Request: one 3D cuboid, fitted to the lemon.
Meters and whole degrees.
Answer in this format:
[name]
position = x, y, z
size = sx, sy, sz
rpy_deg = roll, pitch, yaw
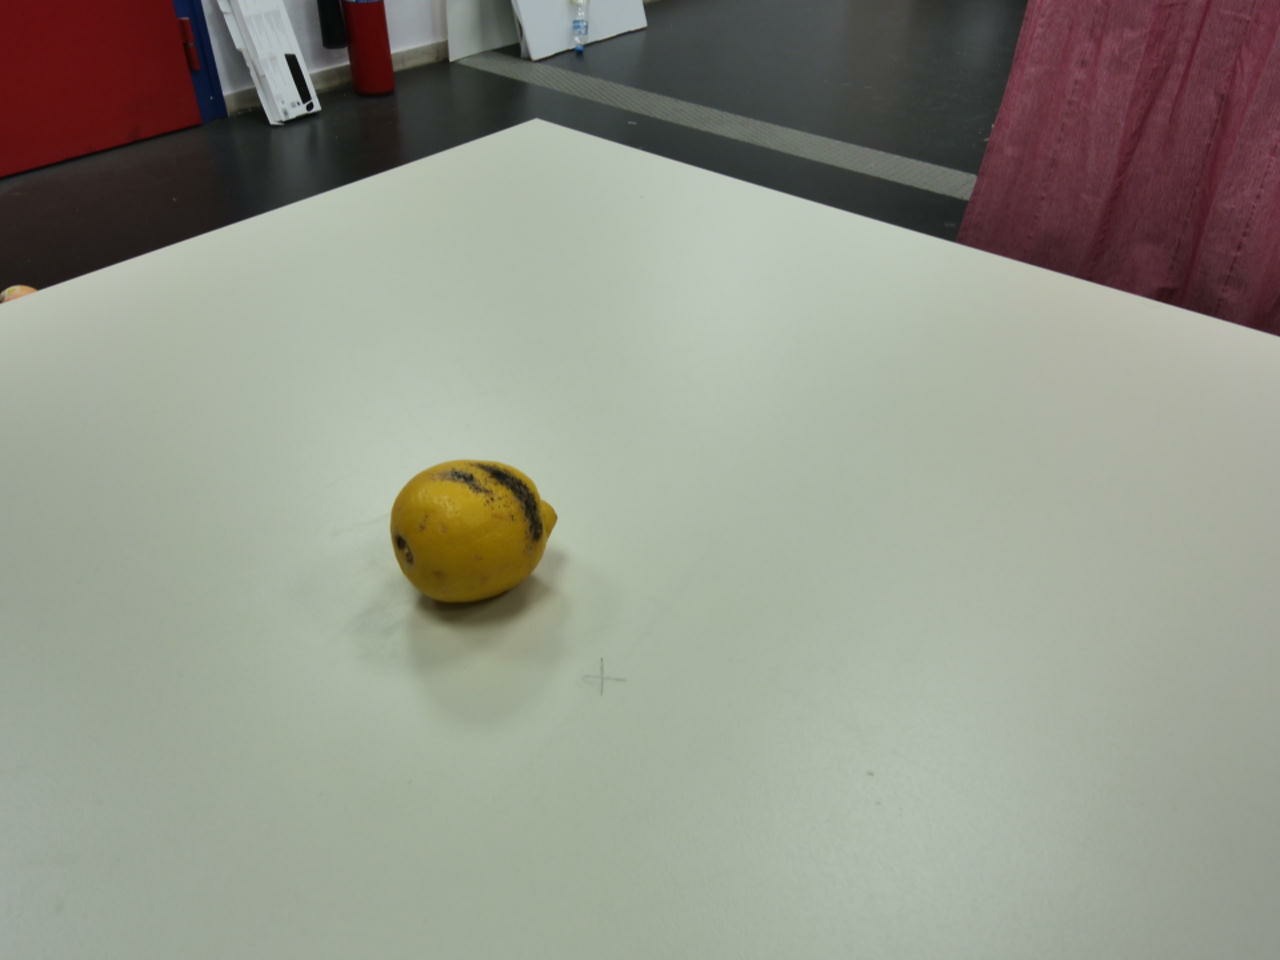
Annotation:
[lemon]
position = -0.068, 0.019, 0.394
size = 0.058, 0.056, 0.061
rpy_deg = 19, 40, 23
